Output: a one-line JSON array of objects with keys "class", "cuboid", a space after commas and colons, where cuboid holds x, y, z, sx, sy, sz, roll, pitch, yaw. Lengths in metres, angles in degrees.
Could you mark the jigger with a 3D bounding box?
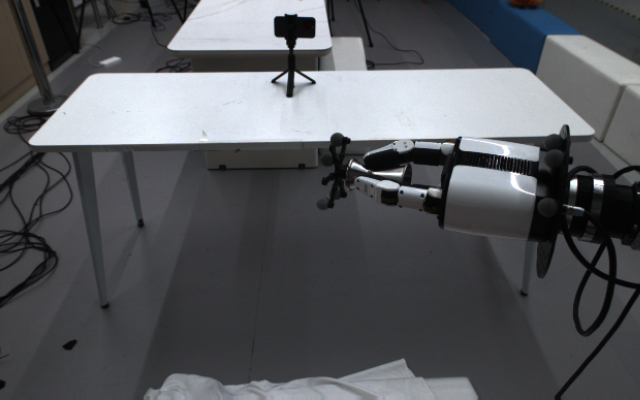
[{"class": "jigger", "cuboid": [0.075, -0.028, 0.566, 0.071, 0.043, 0.043, 10, 35, 22]}]
